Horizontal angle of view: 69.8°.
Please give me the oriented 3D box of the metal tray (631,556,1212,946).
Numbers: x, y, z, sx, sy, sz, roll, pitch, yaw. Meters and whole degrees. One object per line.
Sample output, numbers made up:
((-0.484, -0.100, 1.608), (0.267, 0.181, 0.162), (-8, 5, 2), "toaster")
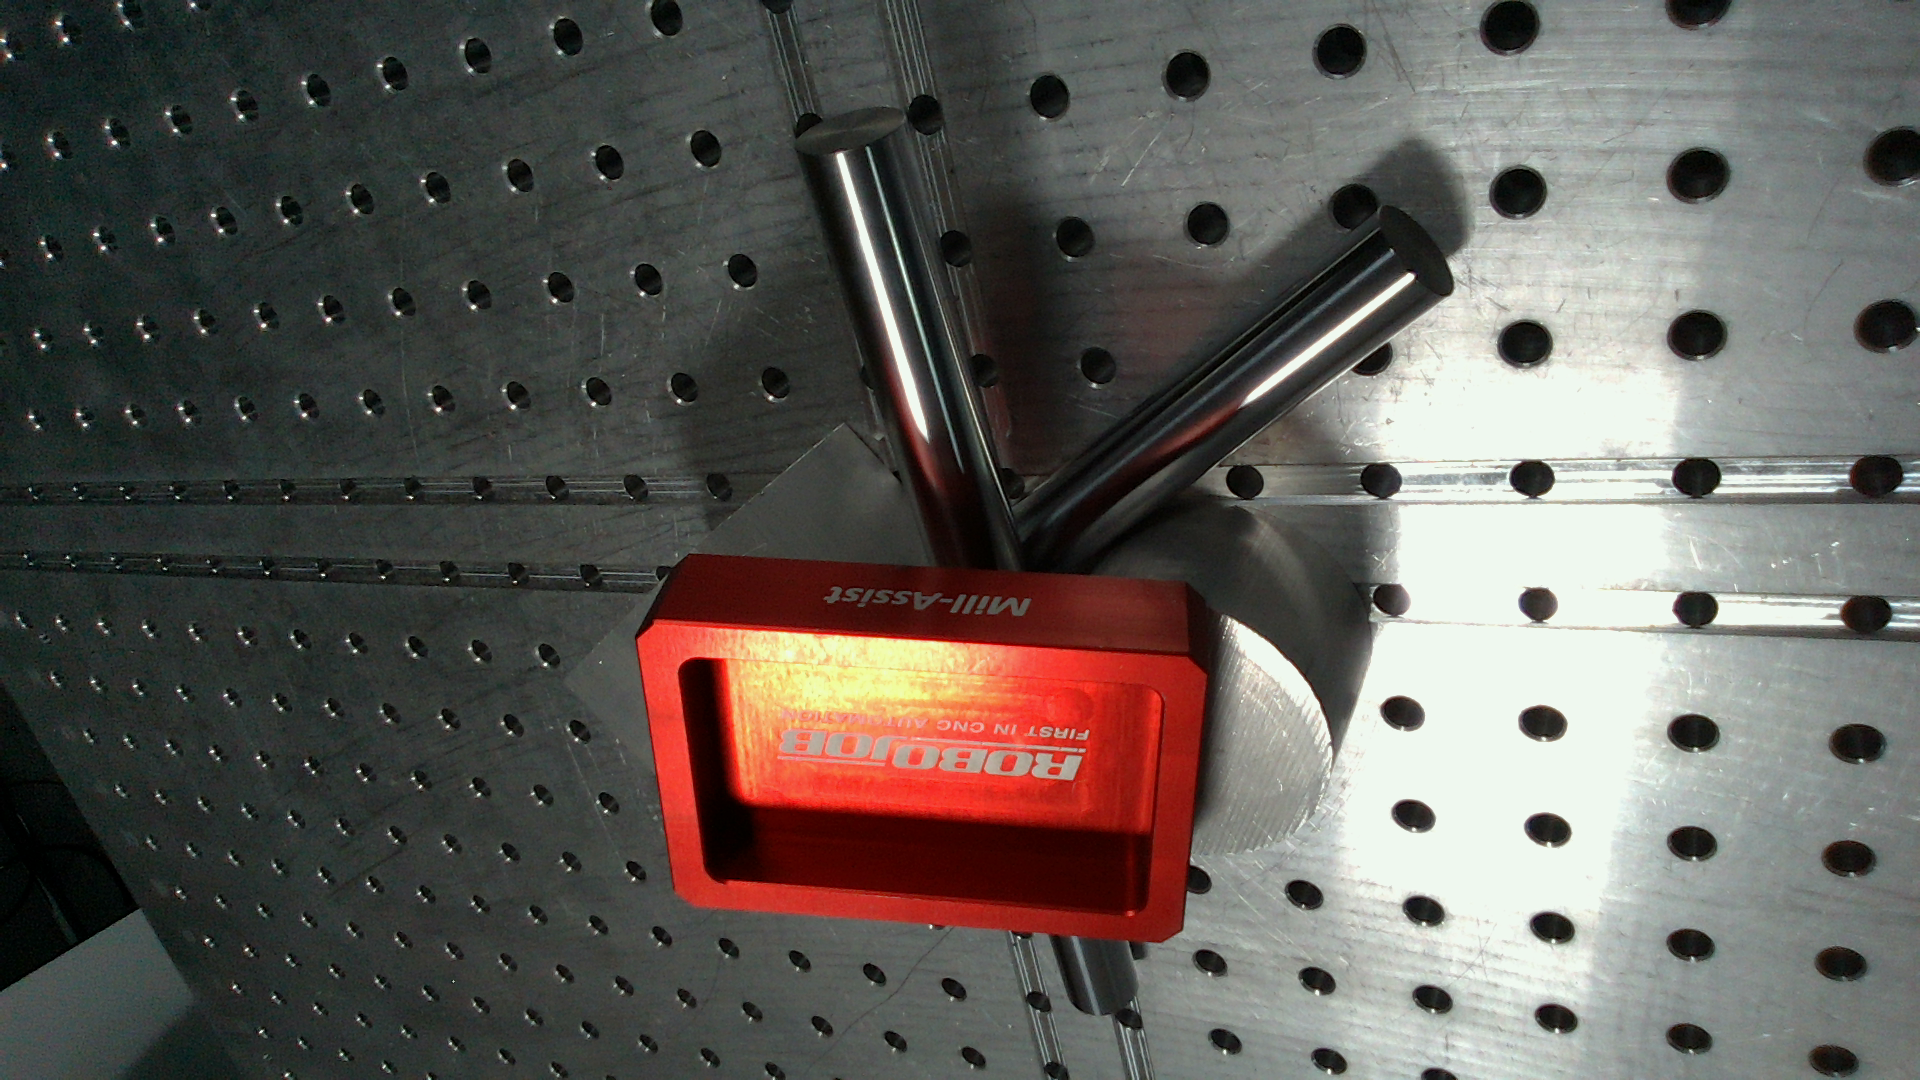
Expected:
((-0.008, 0.053, 0.338), (0.130, 0.030, 0.090), (3, 122, 5), "metal tray")

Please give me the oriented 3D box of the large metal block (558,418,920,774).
((-0.058, 0.021, 0.404), (0.050, 0.080, 0.080), (47, 129, -5), "large metal block")

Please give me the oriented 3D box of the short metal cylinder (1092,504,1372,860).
((0.065, 0.037, 0.367), (0.080, 0.050, 0.080), (13, 124, 21), "short metal cylinder")

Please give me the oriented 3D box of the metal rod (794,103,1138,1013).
((0.012, 0.030, 0.379), (0.025, 0.025, 0.300), (4, 129, 27), "metal rod")

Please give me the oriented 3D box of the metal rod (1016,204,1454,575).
((0.010, 0.009, 0.397), (0.025, 0.025, 0.299), (47, 129, -5), "metal rod")
